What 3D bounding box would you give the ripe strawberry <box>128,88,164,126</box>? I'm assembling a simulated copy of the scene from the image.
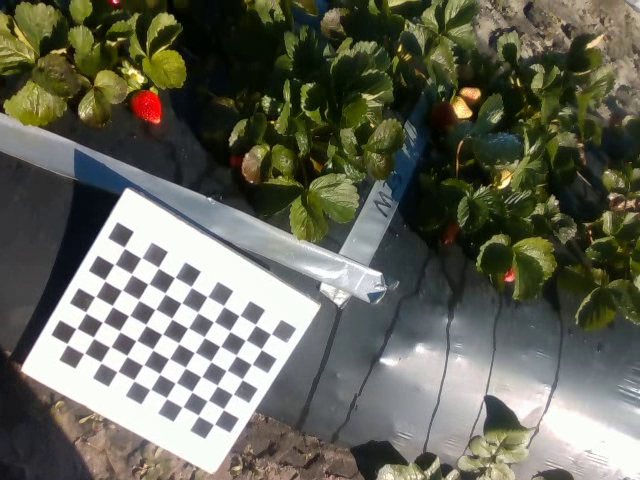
[{"bbox_3d":[-0.231,-0.174,0.940,0.045,0.059,0.042,-30,-6,-1],"label":"ripe strawberry"}]
